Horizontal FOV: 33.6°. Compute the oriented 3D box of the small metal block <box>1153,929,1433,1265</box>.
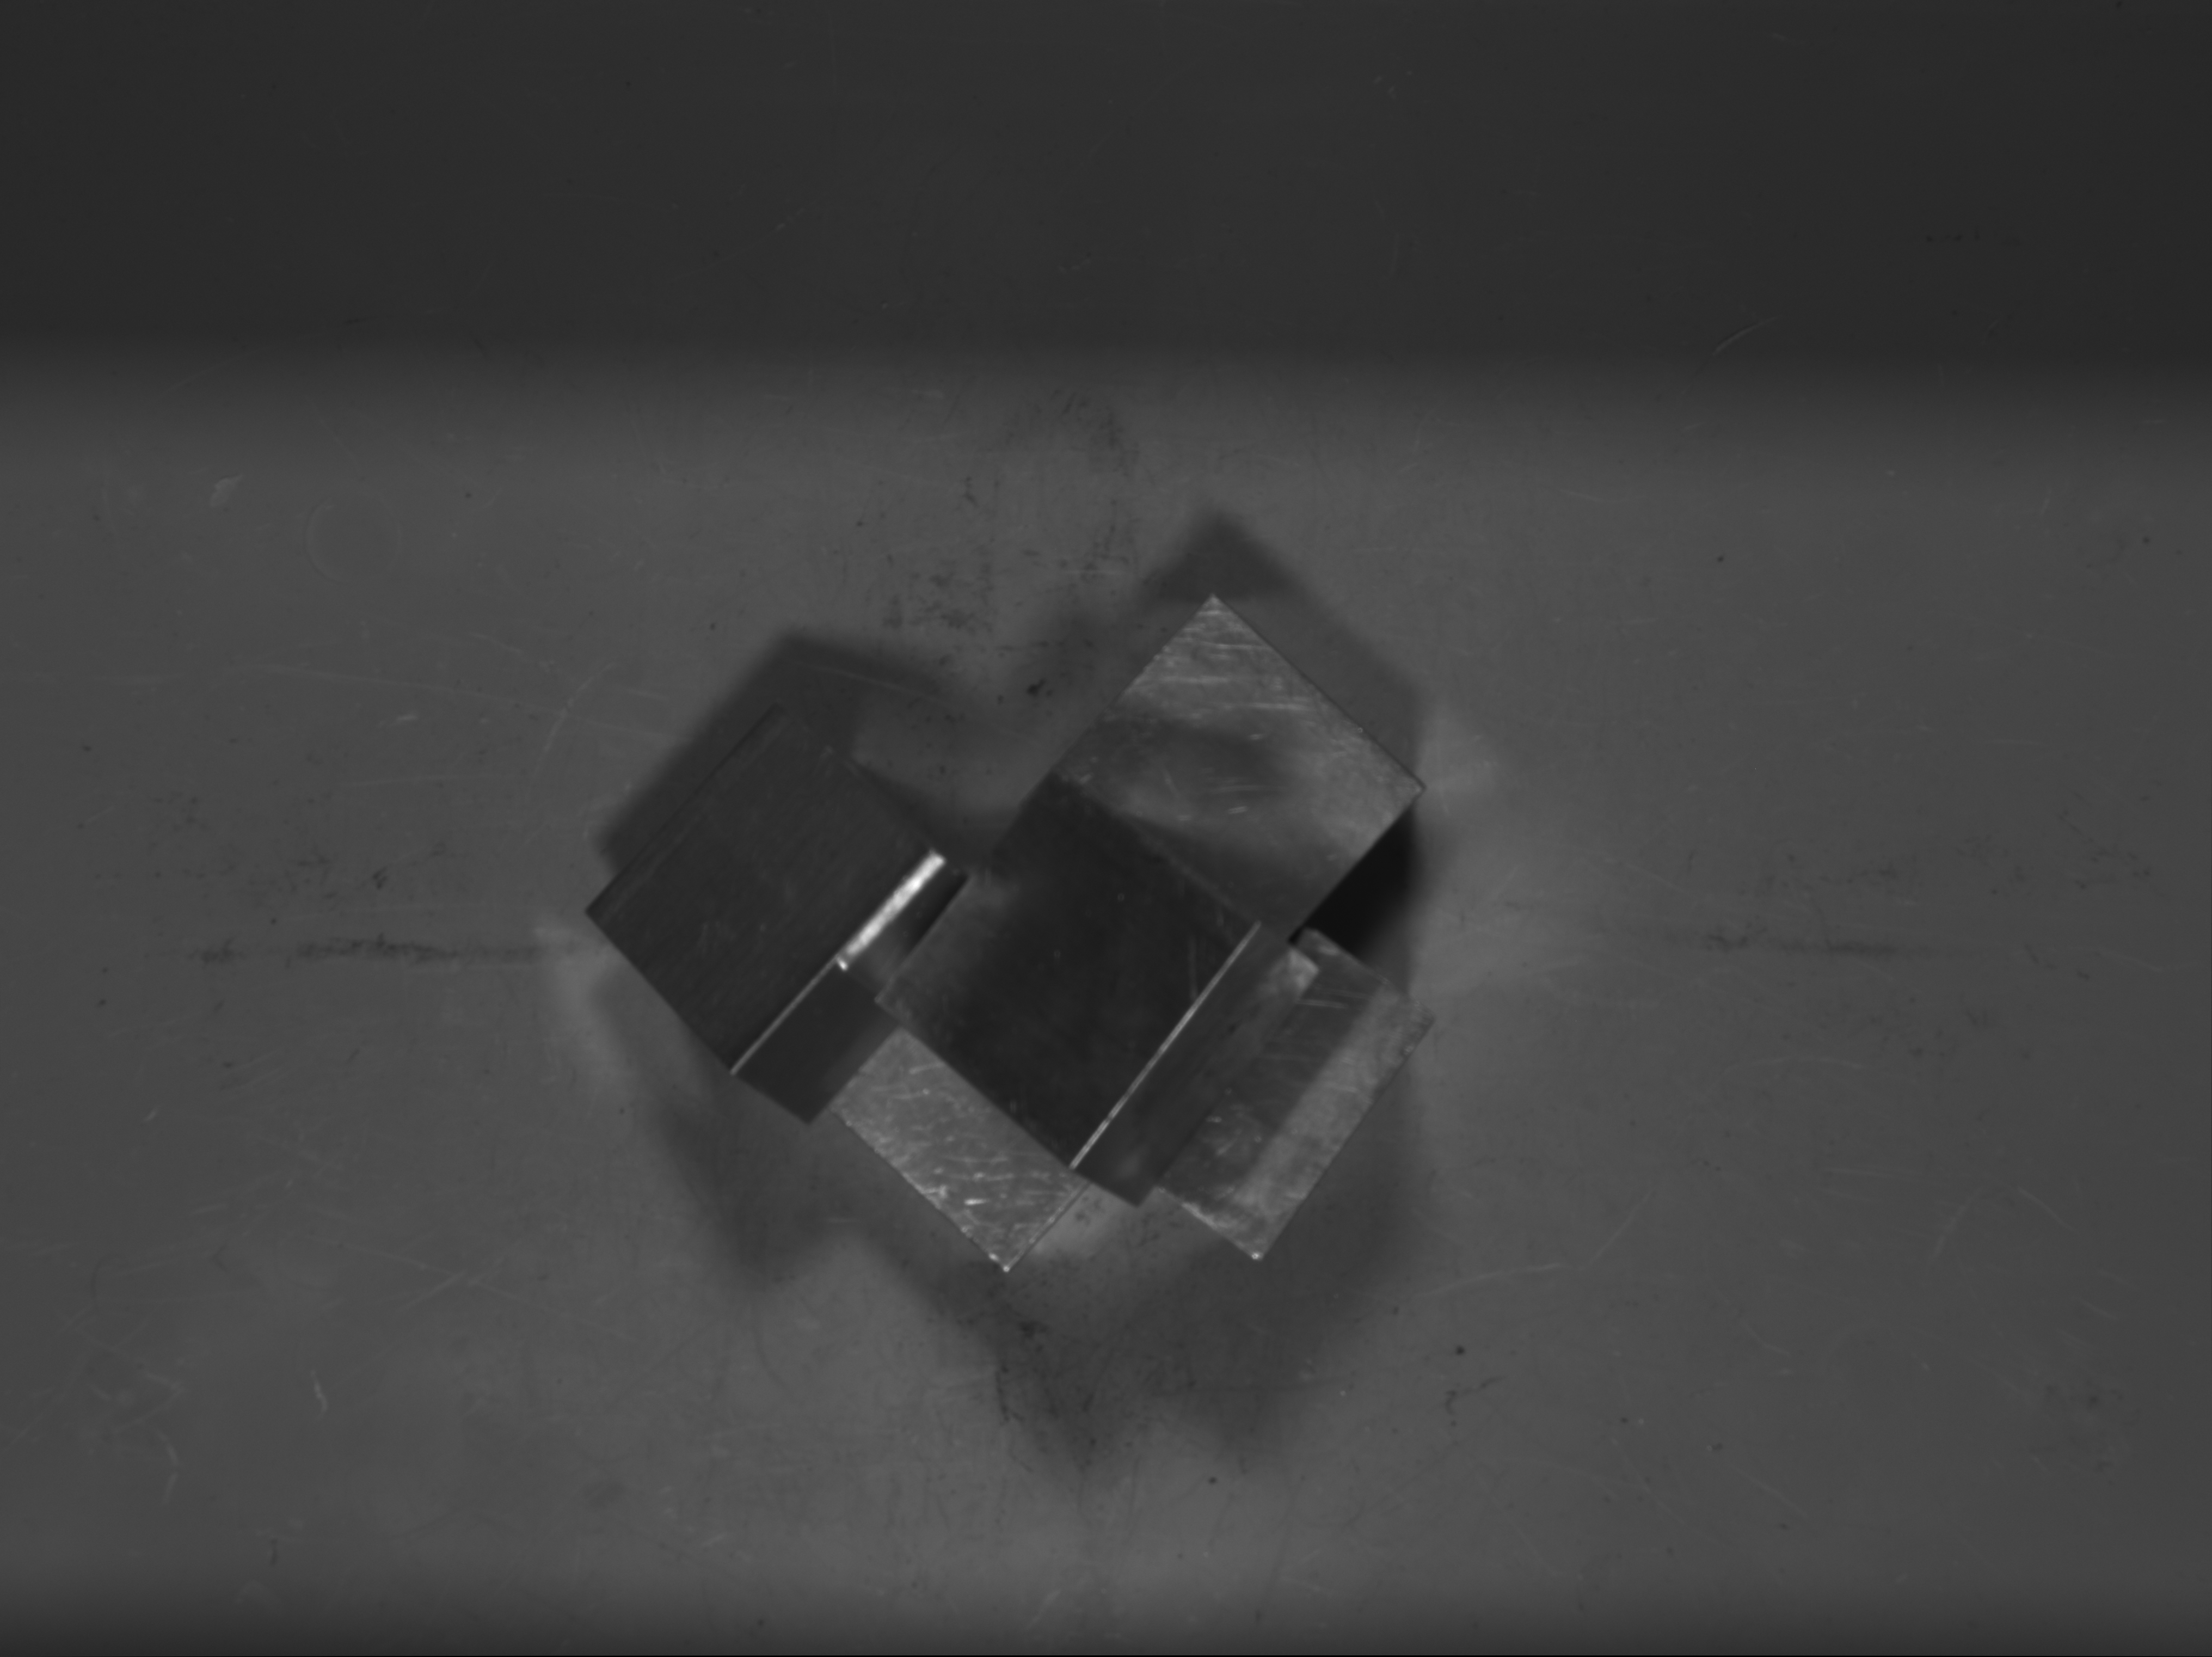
[{"bbox_3d":[0.029,0.045,0.631,0.025,0.050,0.050,35,90,0],"label":"small metal block"}]

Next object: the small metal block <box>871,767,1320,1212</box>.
[{"bbox_3d":[-0.002,0.026,0.607,0.050,0.025,0.050,38,90,34],"label":"small metal block"}]

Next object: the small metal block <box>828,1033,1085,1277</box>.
[{"bbox_3d":[-0.019,0.042,0.644,0.050,0.025,0.050,42,90,0],"label":"small metal block"}]

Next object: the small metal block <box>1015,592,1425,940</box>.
[{"bbox_3d":[0.020,-0.005,0.644,0.050,0.025,0.050,42,90,0],"label":"small metal block"}]

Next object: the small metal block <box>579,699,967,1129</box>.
[{"bbox_3d":[-0.055,0.014,0.631,0.050,0.025,0.050,-48,52,0],"label":"small metal block"}]
